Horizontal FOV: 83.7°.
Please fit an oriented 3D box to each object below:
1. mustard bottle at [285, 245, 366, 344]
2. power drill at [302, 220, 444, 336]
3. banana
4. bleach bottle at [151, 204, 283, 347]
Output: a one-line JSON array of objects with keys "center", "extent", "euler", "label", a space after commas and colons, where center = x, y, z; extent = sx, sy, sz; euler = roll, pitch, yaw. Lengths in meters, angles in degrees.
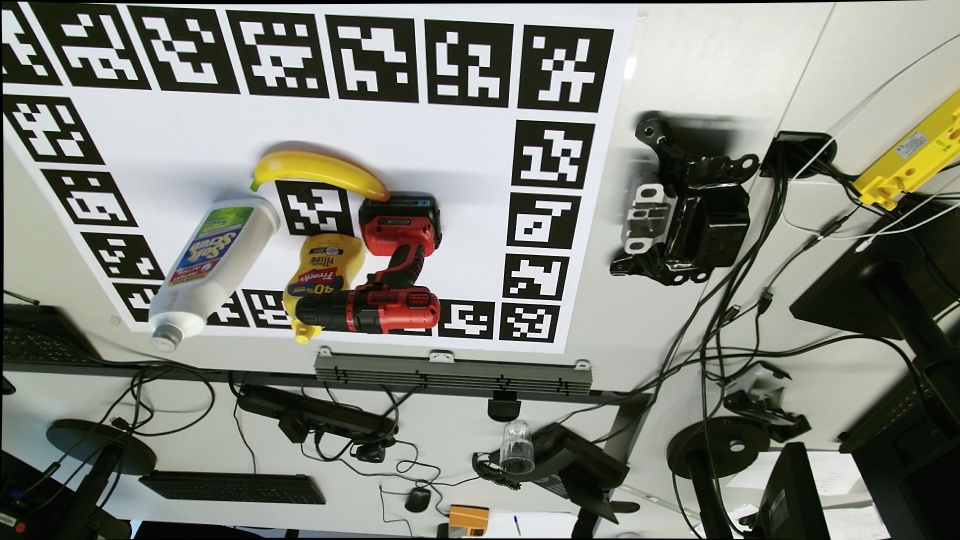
[{"center": [-0.236, 0.041, 0.791], "extent": [0.096, 0.190, 0.058], "euler": [4, 131, 2], "label": "mustard bottle"}, {"center": [-0.133, 0.012, 0.736], "extent": [0.185, 0.186, 0.057], "euler": [2, 137, 5], "label": "power drill"}, {"center": [-0.232, -0.116, 0.754], "extent": [0.198, 0.038, 0.074], "euler": [4, 127, -3], "label": "banana"}, {"center": [-0.365, 0.004, 0.739], "extent": [0.103, 0.249, 0.068], "euler": [-3, 129, 6], "label": "bleach bottle"}]
